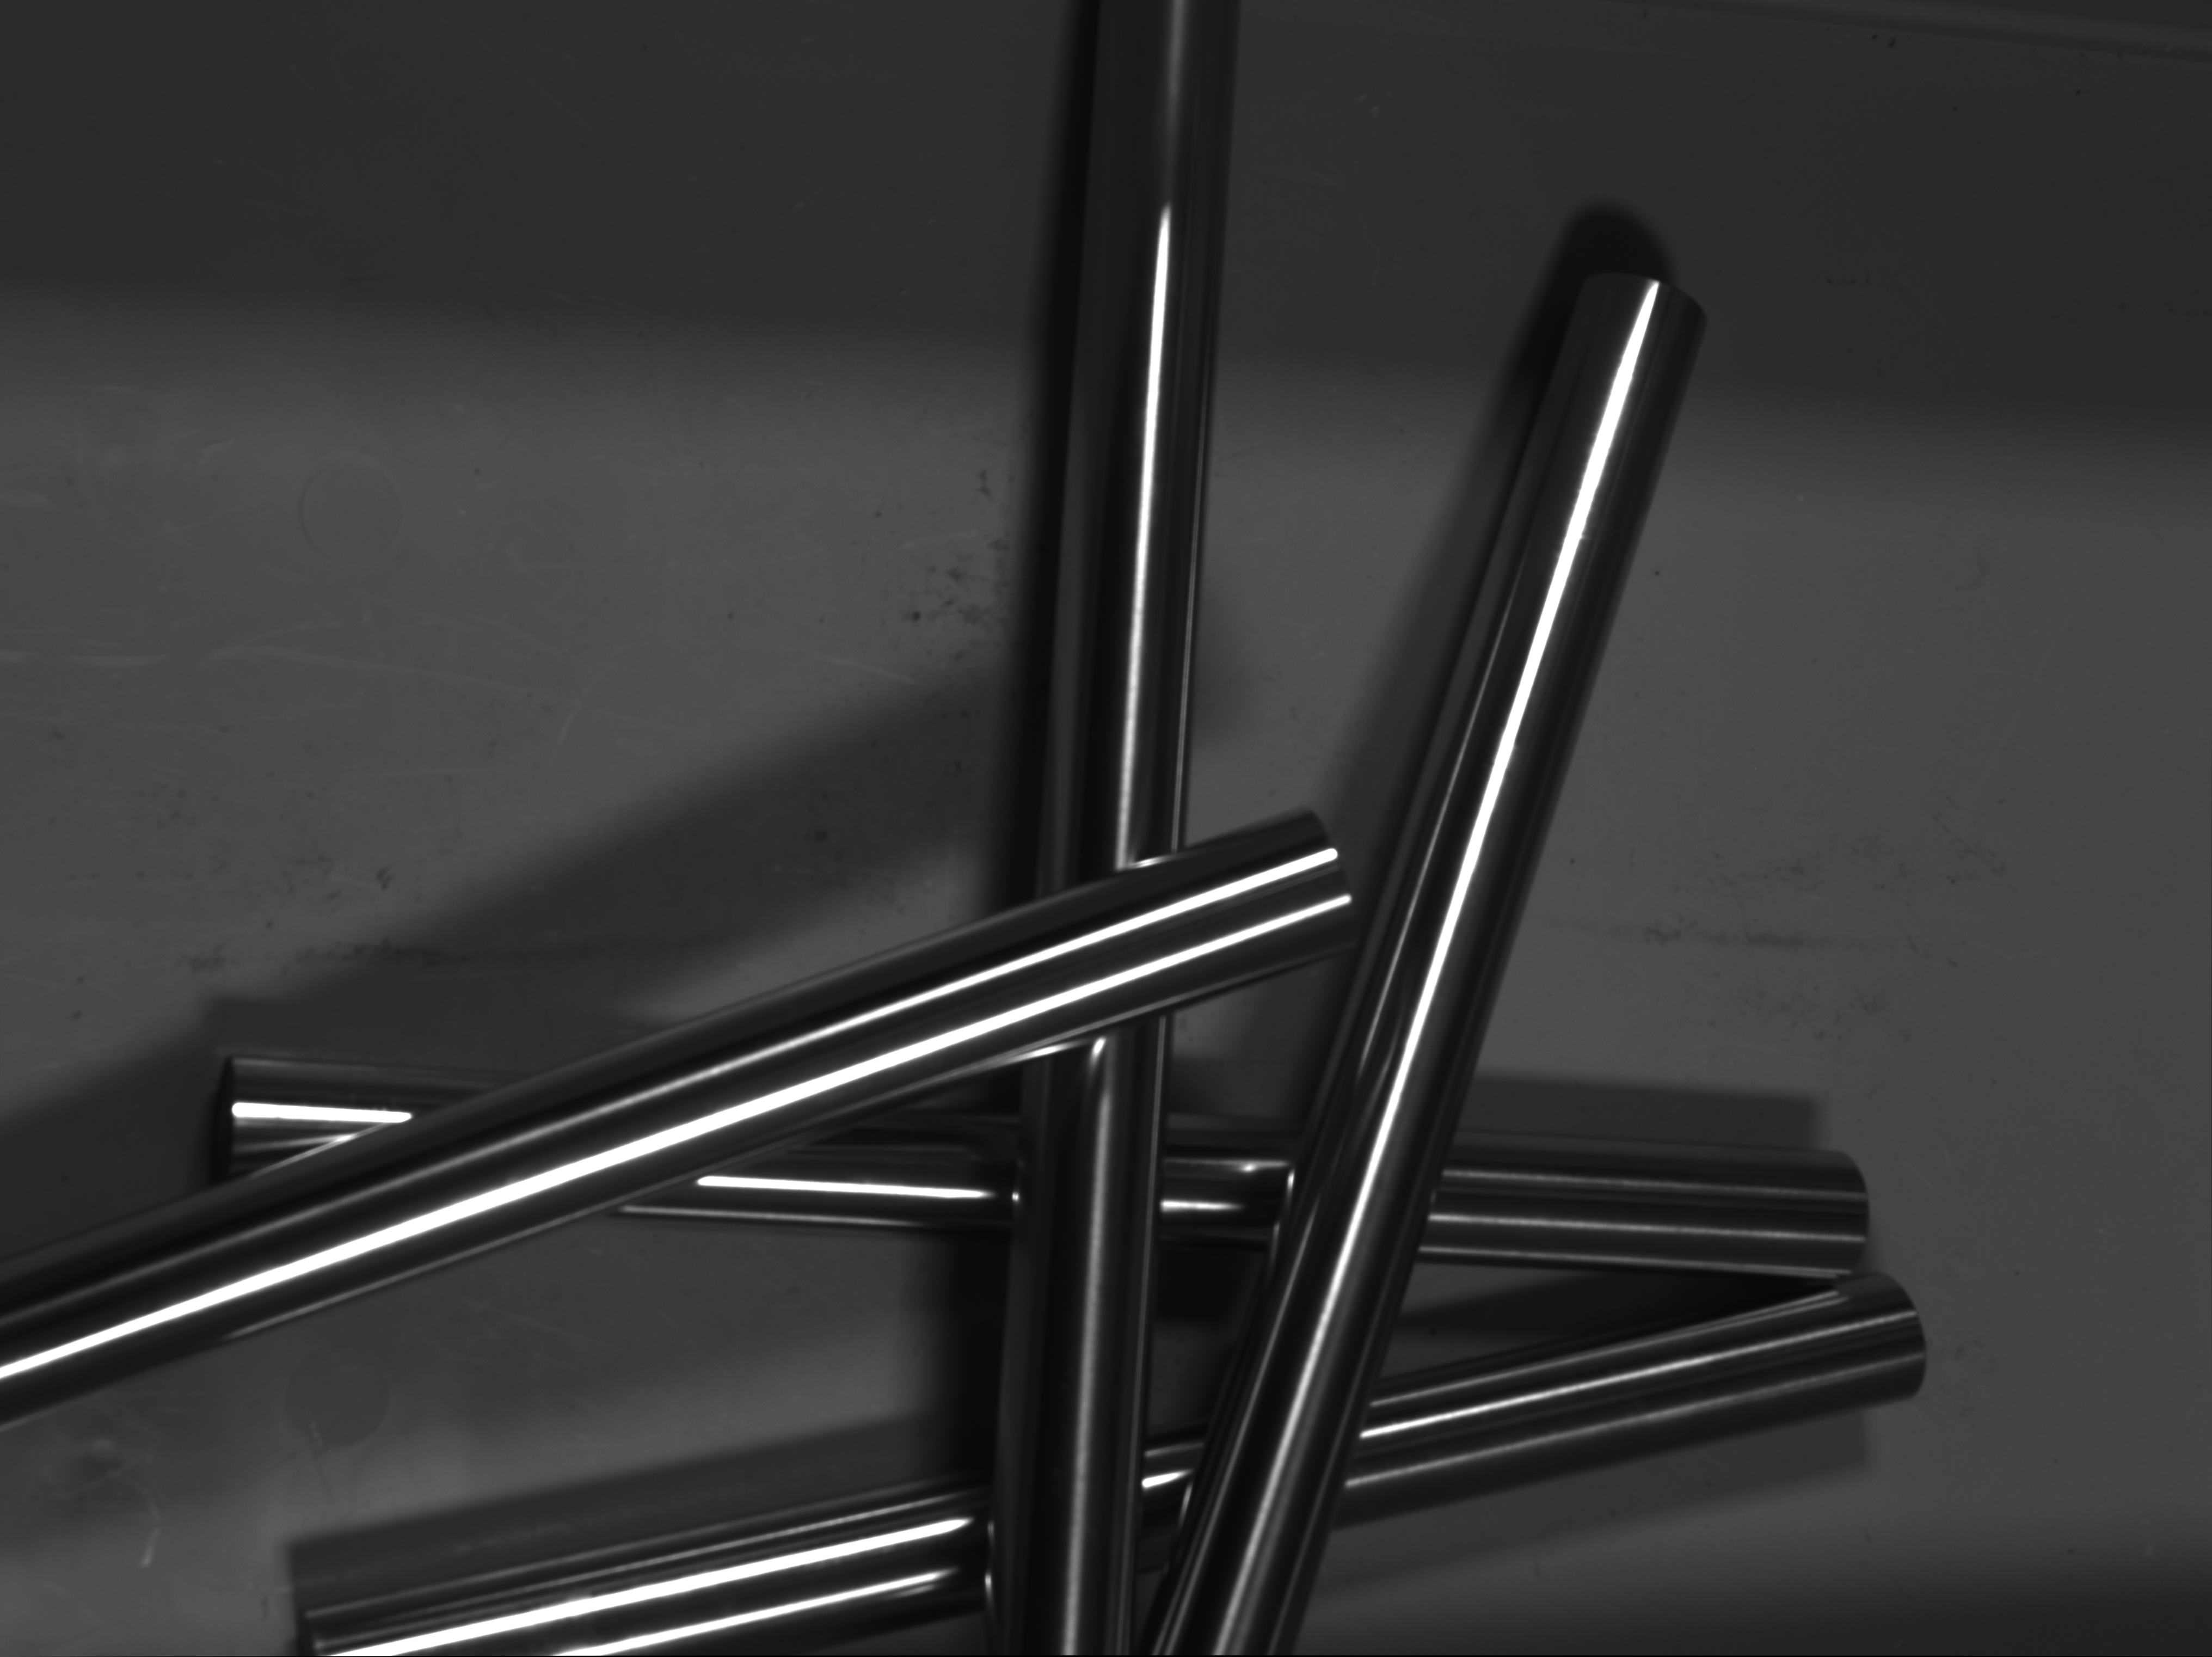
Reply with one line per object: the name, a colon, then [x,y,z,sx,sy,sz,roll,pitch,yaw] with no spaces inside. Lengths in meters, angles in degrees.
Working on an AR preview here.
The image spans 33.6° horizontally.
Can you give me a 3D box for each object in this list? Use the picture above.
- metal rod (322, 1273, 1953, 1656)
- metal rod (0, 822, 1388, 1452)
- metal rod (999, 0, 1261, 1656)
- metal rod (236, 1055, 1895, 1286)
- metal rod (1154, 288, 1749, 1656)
metal rod: [0.015,0.119,0.647,0.301,0.025,0.025,-9,93,-20]
metal rod: [-0.096,0.058,0.581,0.300,0.025,0.025,-19,96,-13]
metal rod: [0.005,-0.008,0.626,0.025,0.025,0.300,7,81,-20]
metal rod: [0.002,0.062,0.643,0.301,0.025,0.025,5,88,-20]
metal rod: [0.057,0.041,0.642,0.025,0.025,0.300,26,74,-18]
